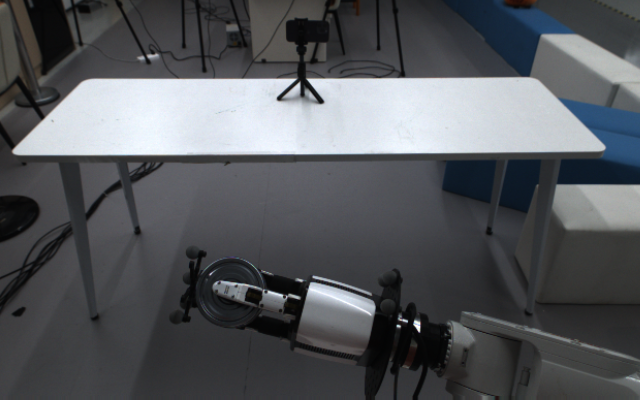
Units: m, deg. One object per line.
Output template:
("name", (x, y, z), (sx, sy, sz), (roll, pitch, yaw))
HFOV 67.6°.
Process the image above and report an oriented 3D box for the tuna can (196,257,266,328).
("tuna can", (-0.106, 0.113, 0.596), (0.085, 0.034, 0.085), (1, 74, -5))
